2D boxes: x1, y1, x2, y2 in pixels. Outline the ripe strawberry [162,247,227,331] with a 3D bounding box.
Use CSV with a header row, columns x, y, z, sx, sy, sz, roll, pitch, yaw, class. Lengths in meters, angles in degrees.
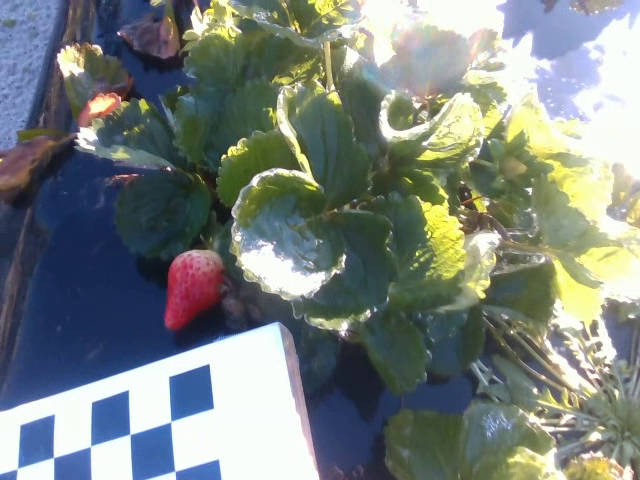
x,y,z,sx,sy,sz,roll,pitch,yaw,class
-0.094,0.031,0.406,0.040,0.065,0.040,22,-17,26,ripe strawberry
